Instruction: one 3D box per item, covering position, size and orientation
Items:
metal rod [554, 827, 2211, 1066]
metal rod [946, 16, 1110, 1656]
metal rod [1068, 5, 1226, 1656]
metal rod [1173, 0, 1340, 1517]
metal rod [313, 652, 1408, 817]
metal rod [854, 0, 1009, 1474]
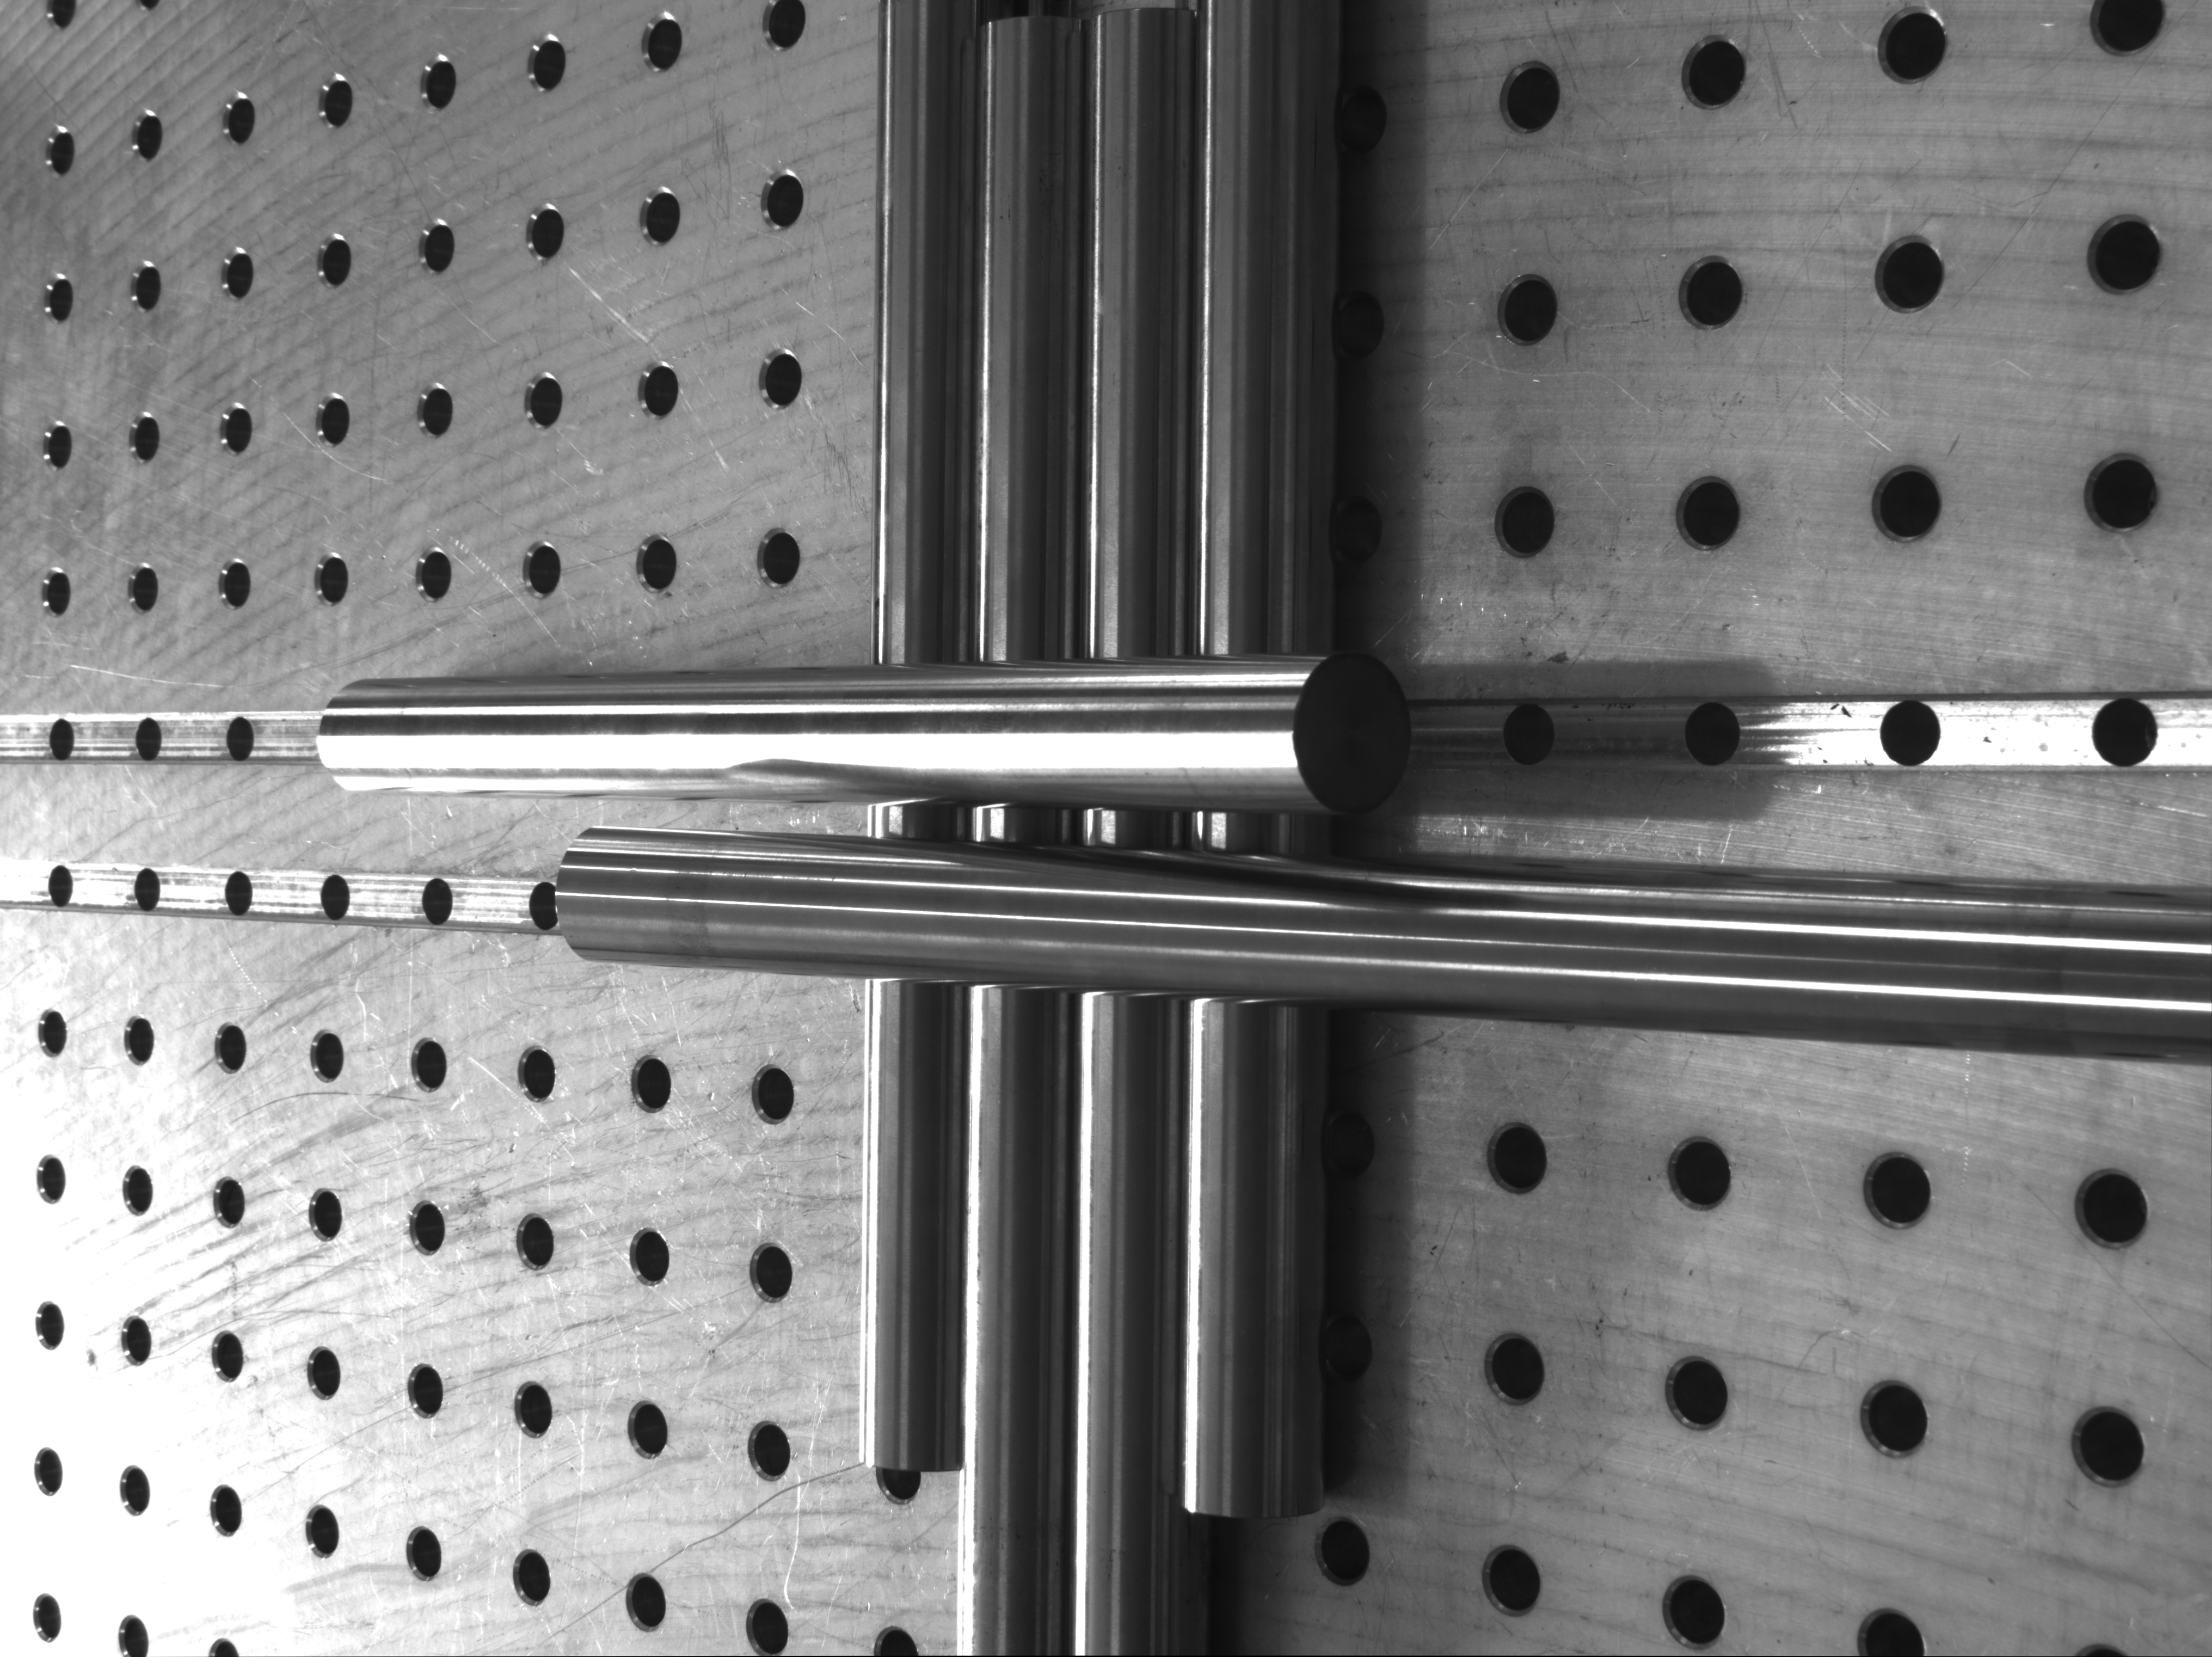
[{"bbox_3d":[0.035,0.017,0.592,0.299,0.025,0.025,2,91,31],"label":"metal rod"},{"bbox_3d":[-0.014,0.007,0.659,0.025,0.025,0.300,2,91,40],"label":"metal rod"},{"bbox_3d":[0.007,0.009,0.644,0.025,0.025,0.300,1,91,40],"label":"metal rod"},{"bbox_3d":[0.026,-0.035,0.626,0.025,0.025,0.300,1,91,40],"label":"metal rod"},{"bbox_3d":[-0.061,-0.017,0.670,0.299,0.025,0.025,1,91,49],"label":"metal rod"},{"bbox_3d":[-0.032,-0.033,0.675,0.025,0.025,0.300,1,91,40],"label":"metal rod"}]
